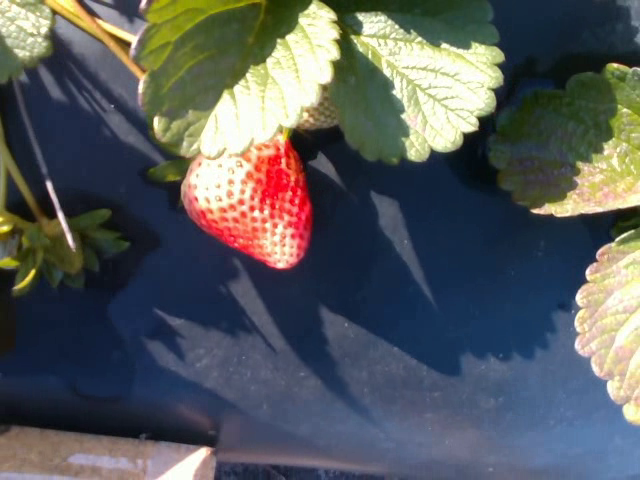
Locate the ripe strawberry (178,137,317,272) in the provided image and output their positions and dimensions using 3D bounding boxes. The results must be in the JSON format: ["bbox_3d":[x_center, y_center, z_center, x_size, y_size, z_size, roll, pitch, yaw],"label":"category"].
[{"bbox_3d":[-0.014,-0.011,0.154,0.042,0.045,0.037,-24,-34,-14],"label":"ripe strawberry"}]
